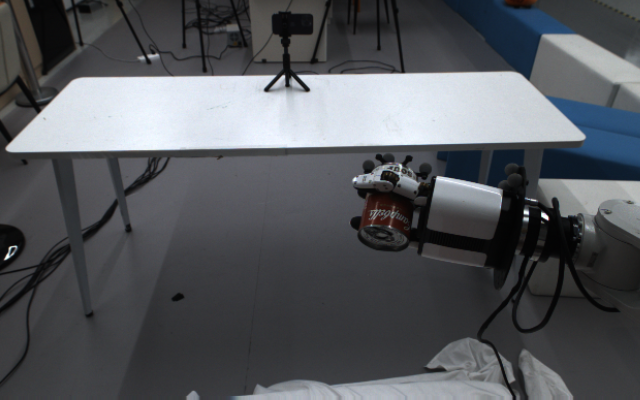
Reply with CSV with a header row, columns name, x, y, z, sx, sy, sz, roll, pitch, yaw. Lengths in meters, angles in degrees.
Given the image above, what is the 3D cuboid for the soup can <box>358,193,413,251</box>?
name,x,y,z,sx,sy,sz,roll,pitch,yaw
soup can,0.093,0.008,0.644,0.067,0.067,0.101,9,58,10
